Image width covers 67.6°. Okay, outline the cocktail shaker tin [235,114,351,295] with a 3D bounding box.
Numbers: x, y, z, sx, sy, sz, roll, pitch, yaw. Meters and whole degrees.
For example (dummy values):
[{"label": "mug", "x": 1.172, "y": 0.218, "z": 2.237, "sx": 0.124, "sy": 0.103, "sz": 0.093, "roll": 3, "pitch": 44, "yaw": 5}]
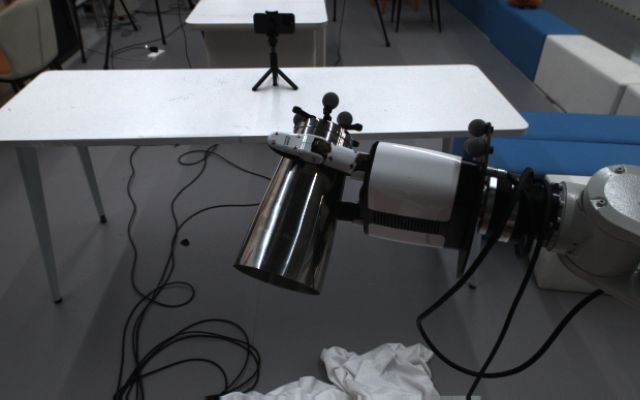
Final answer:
[{"label": "cocktail shaker tin", "x": -0.018, "y": 0.002, "z": 0.511, "sx": 0.093, "sy": 0.093, "sz": 0.170, "roll": 13, "pitch": 71, "yaw": 15}]
